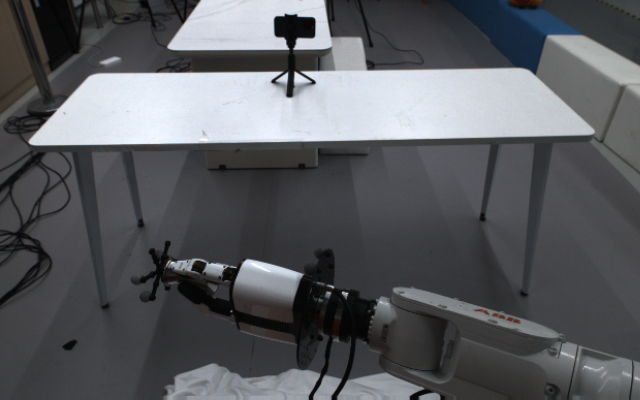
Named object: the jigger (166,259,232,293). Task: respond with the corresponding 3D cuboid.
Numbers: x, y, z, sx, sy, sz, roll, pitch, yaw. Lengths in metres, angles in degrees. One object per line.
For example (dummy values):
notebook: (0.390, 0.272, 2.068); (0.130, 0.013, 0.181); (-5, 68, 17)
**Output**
jigger: (-0.175, 0.104, 0.684); (0.071, 0.043, 0.043); (8, 35, 14)
